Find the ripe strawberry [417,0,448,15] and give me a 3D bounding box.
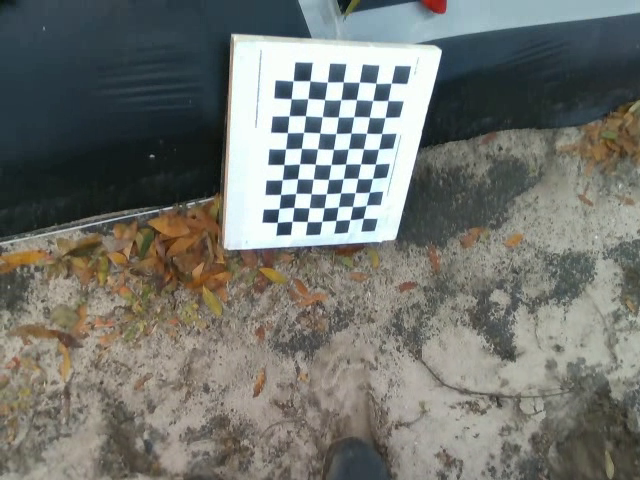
[{"bbox_3d":[0.145,-0.290,0.869,0.039,0.047,0.041,-26,34,7],"label":"ripe strawberry"}]
